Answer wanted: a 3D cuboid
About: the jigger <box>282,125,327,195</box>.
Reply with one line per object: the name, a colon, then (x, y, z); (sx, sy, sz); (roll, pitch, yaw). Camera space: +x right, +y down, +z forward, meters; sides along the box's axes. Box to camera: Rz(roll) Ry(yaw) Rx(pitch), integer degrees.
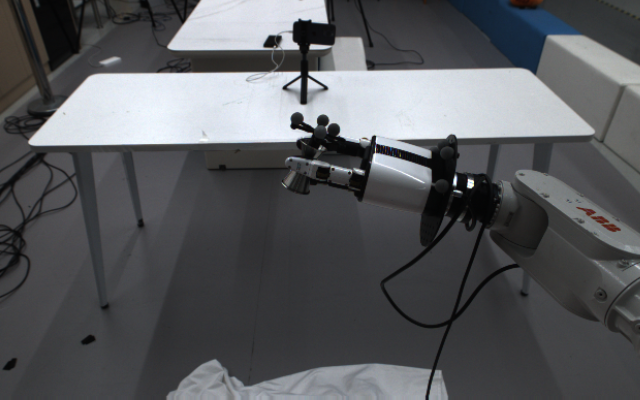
jigger: (-0.023, -0.048, 0.672); (0.043, 0.071, 0.043); (23, 19, -8)
